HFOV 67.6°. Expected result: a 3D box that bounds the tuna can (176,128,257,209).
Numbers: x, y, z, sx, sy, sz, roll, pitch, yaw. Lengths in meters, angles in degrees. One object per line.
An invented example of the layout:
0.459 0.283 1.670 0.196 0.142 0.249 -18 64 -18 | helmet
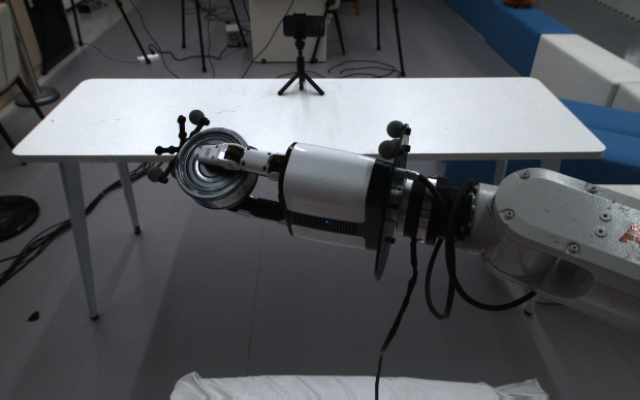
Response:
-0.108 -0.031 0.526 0.085 0.034 0.085 -2 72 6 | tuna can
